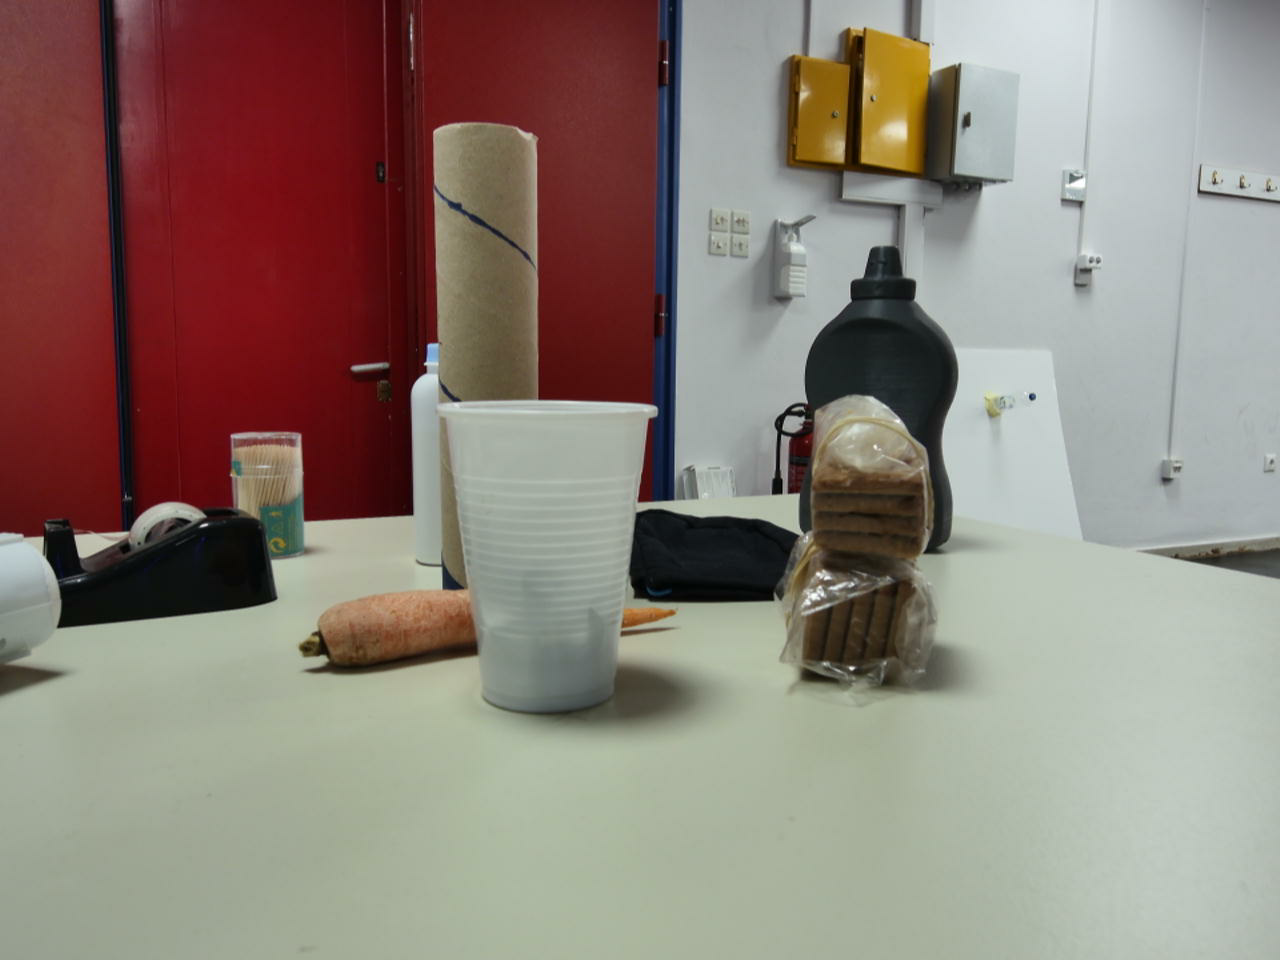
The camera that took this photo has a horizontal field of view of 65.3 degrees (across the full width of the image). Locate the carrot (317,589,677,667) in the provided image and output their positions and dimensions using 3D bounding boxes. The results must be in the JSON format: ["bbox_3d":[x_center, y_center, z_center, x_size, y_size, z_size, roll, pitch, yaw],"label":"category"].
[{"bbox_3d":[-0.062,0.060,0.439,0.163,0.029,0.031,-2,5,-26],"label":"carrot"}]
